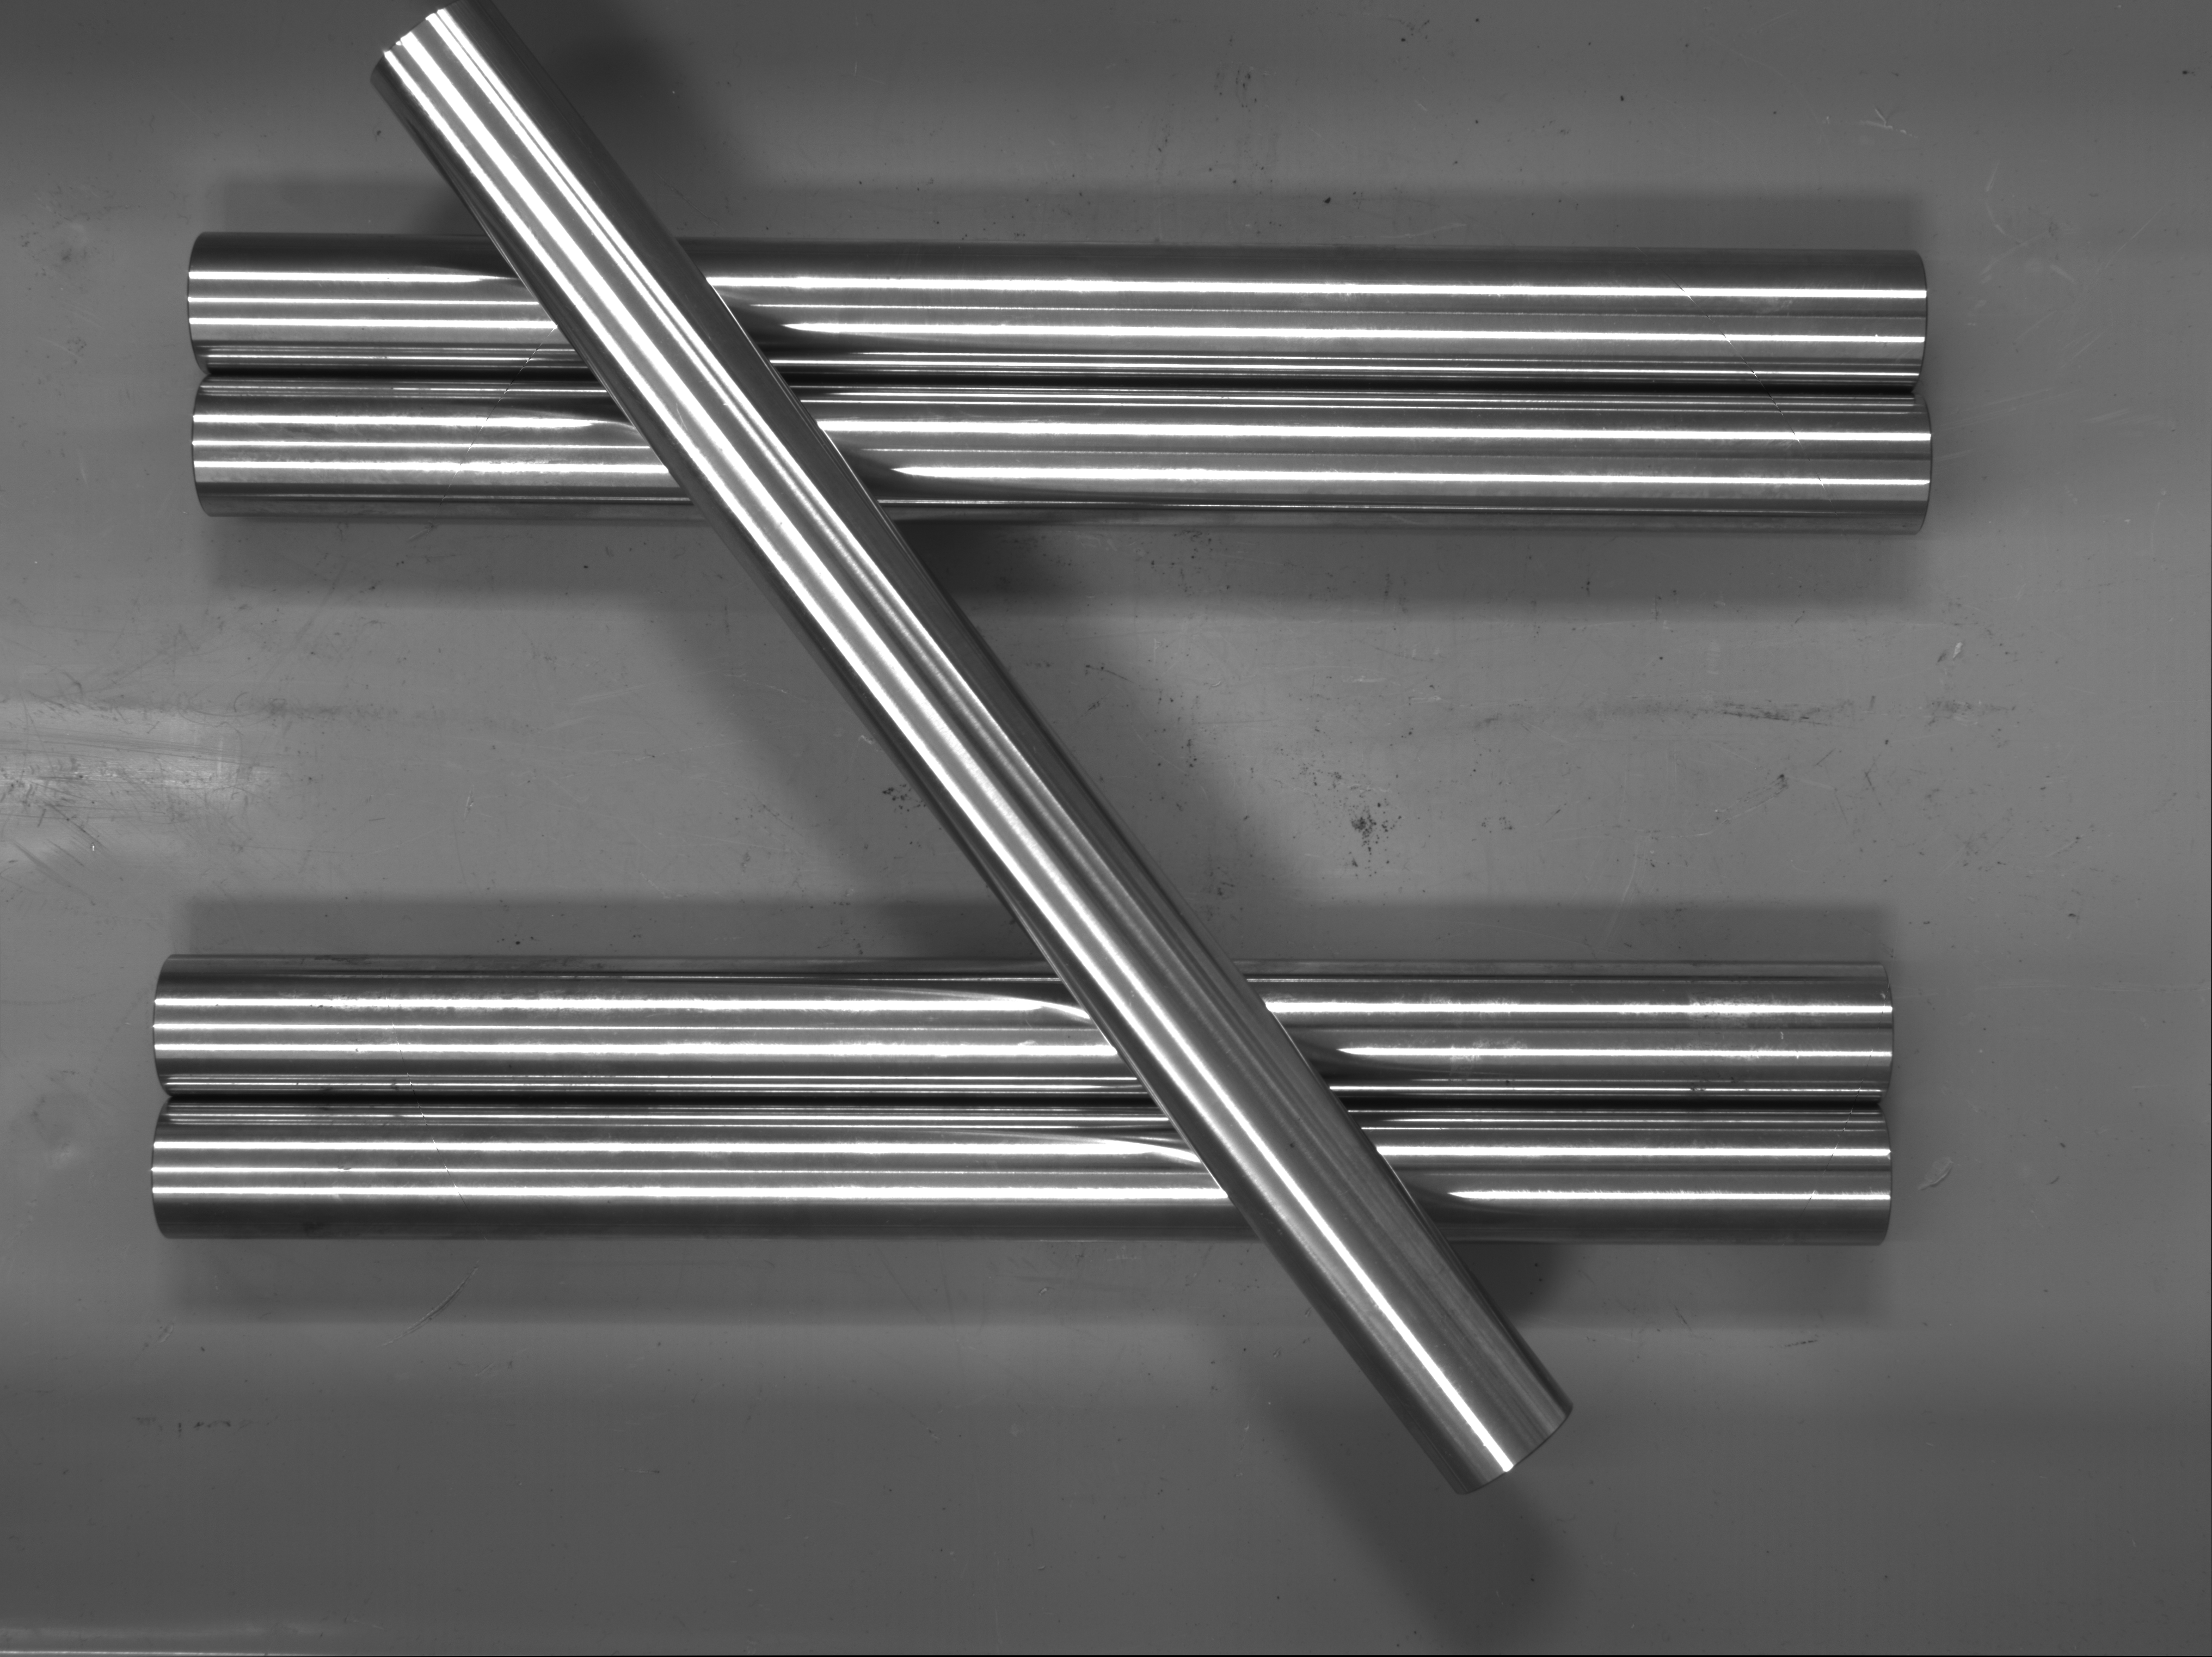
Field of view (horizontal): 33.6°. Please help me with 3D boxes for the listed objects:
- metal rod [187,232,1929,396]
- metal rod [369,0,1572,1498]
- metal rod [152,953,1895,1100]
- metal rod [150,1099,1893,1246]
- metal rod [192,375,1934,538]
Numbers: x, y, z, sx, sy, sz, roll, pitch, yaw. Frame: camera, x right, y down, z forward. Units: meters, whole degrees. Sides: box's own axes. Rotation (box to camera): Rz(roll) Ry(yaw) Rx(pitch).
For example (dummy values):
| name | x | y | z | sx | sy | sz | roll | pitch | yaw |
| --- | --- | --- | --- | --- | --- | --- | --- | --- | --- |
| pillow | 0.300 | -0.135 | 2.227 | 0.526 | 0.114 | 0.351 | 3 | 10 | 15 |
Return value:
| name | x | y | z | sx | sy | sz | roll | pitch | yaw |
| --- | --- | --- | --- | --- | --- | --- | --- | --- | --- |
| metal rod | -0.008 | -0.090 | 0.644 | 0.300 | 0.025 | 0.025 | 1 | 90 | 0 |
| metal rod | -0.023 | -0.014 | 0.620 | 0.025 | 0.025 | 0.300 | -38 | 90 | 0 |
| metal rod | -0.014 | 0.035 | 0.644 | 0.300 | 0.025 | 0.025 | 0 | 90 | 0 |
| metal rod | -0.014 | 0.060 | 0.644 | 0.300 | 0.025 | 0.025 | 0 | 90 | 0 |
| metal rod | -0.007 | -0.065 | 0.644 | 0.300 | 0.025 | 0.025 | 1 | 90 | 0 |
